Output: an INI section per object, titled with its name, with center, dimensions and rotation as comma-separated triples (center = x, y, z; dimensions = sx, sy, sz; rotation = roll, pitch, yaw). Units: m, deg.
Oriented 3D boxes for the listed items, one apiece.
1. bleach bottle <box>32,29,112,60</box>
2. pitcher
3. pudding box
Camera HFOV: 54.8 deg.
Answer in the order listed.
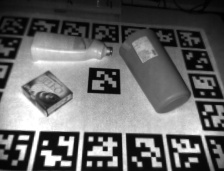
[bleach bottle]
center = -0.125, -0.136, 0.717
dimensions = 0.252, 0.068, 0.102
rotation = 0, 61, -10
[pitcher]
center = 0.138, -0.048, 0.676
dimensions = 0.191, 0.132, 0.240
rotation = 1, 54, -49
[pudding box]
center = -0.181, 0.011, 0.621
dimensions = 0.113, 0.038, 0.091
rotation = 42, 55, 17
